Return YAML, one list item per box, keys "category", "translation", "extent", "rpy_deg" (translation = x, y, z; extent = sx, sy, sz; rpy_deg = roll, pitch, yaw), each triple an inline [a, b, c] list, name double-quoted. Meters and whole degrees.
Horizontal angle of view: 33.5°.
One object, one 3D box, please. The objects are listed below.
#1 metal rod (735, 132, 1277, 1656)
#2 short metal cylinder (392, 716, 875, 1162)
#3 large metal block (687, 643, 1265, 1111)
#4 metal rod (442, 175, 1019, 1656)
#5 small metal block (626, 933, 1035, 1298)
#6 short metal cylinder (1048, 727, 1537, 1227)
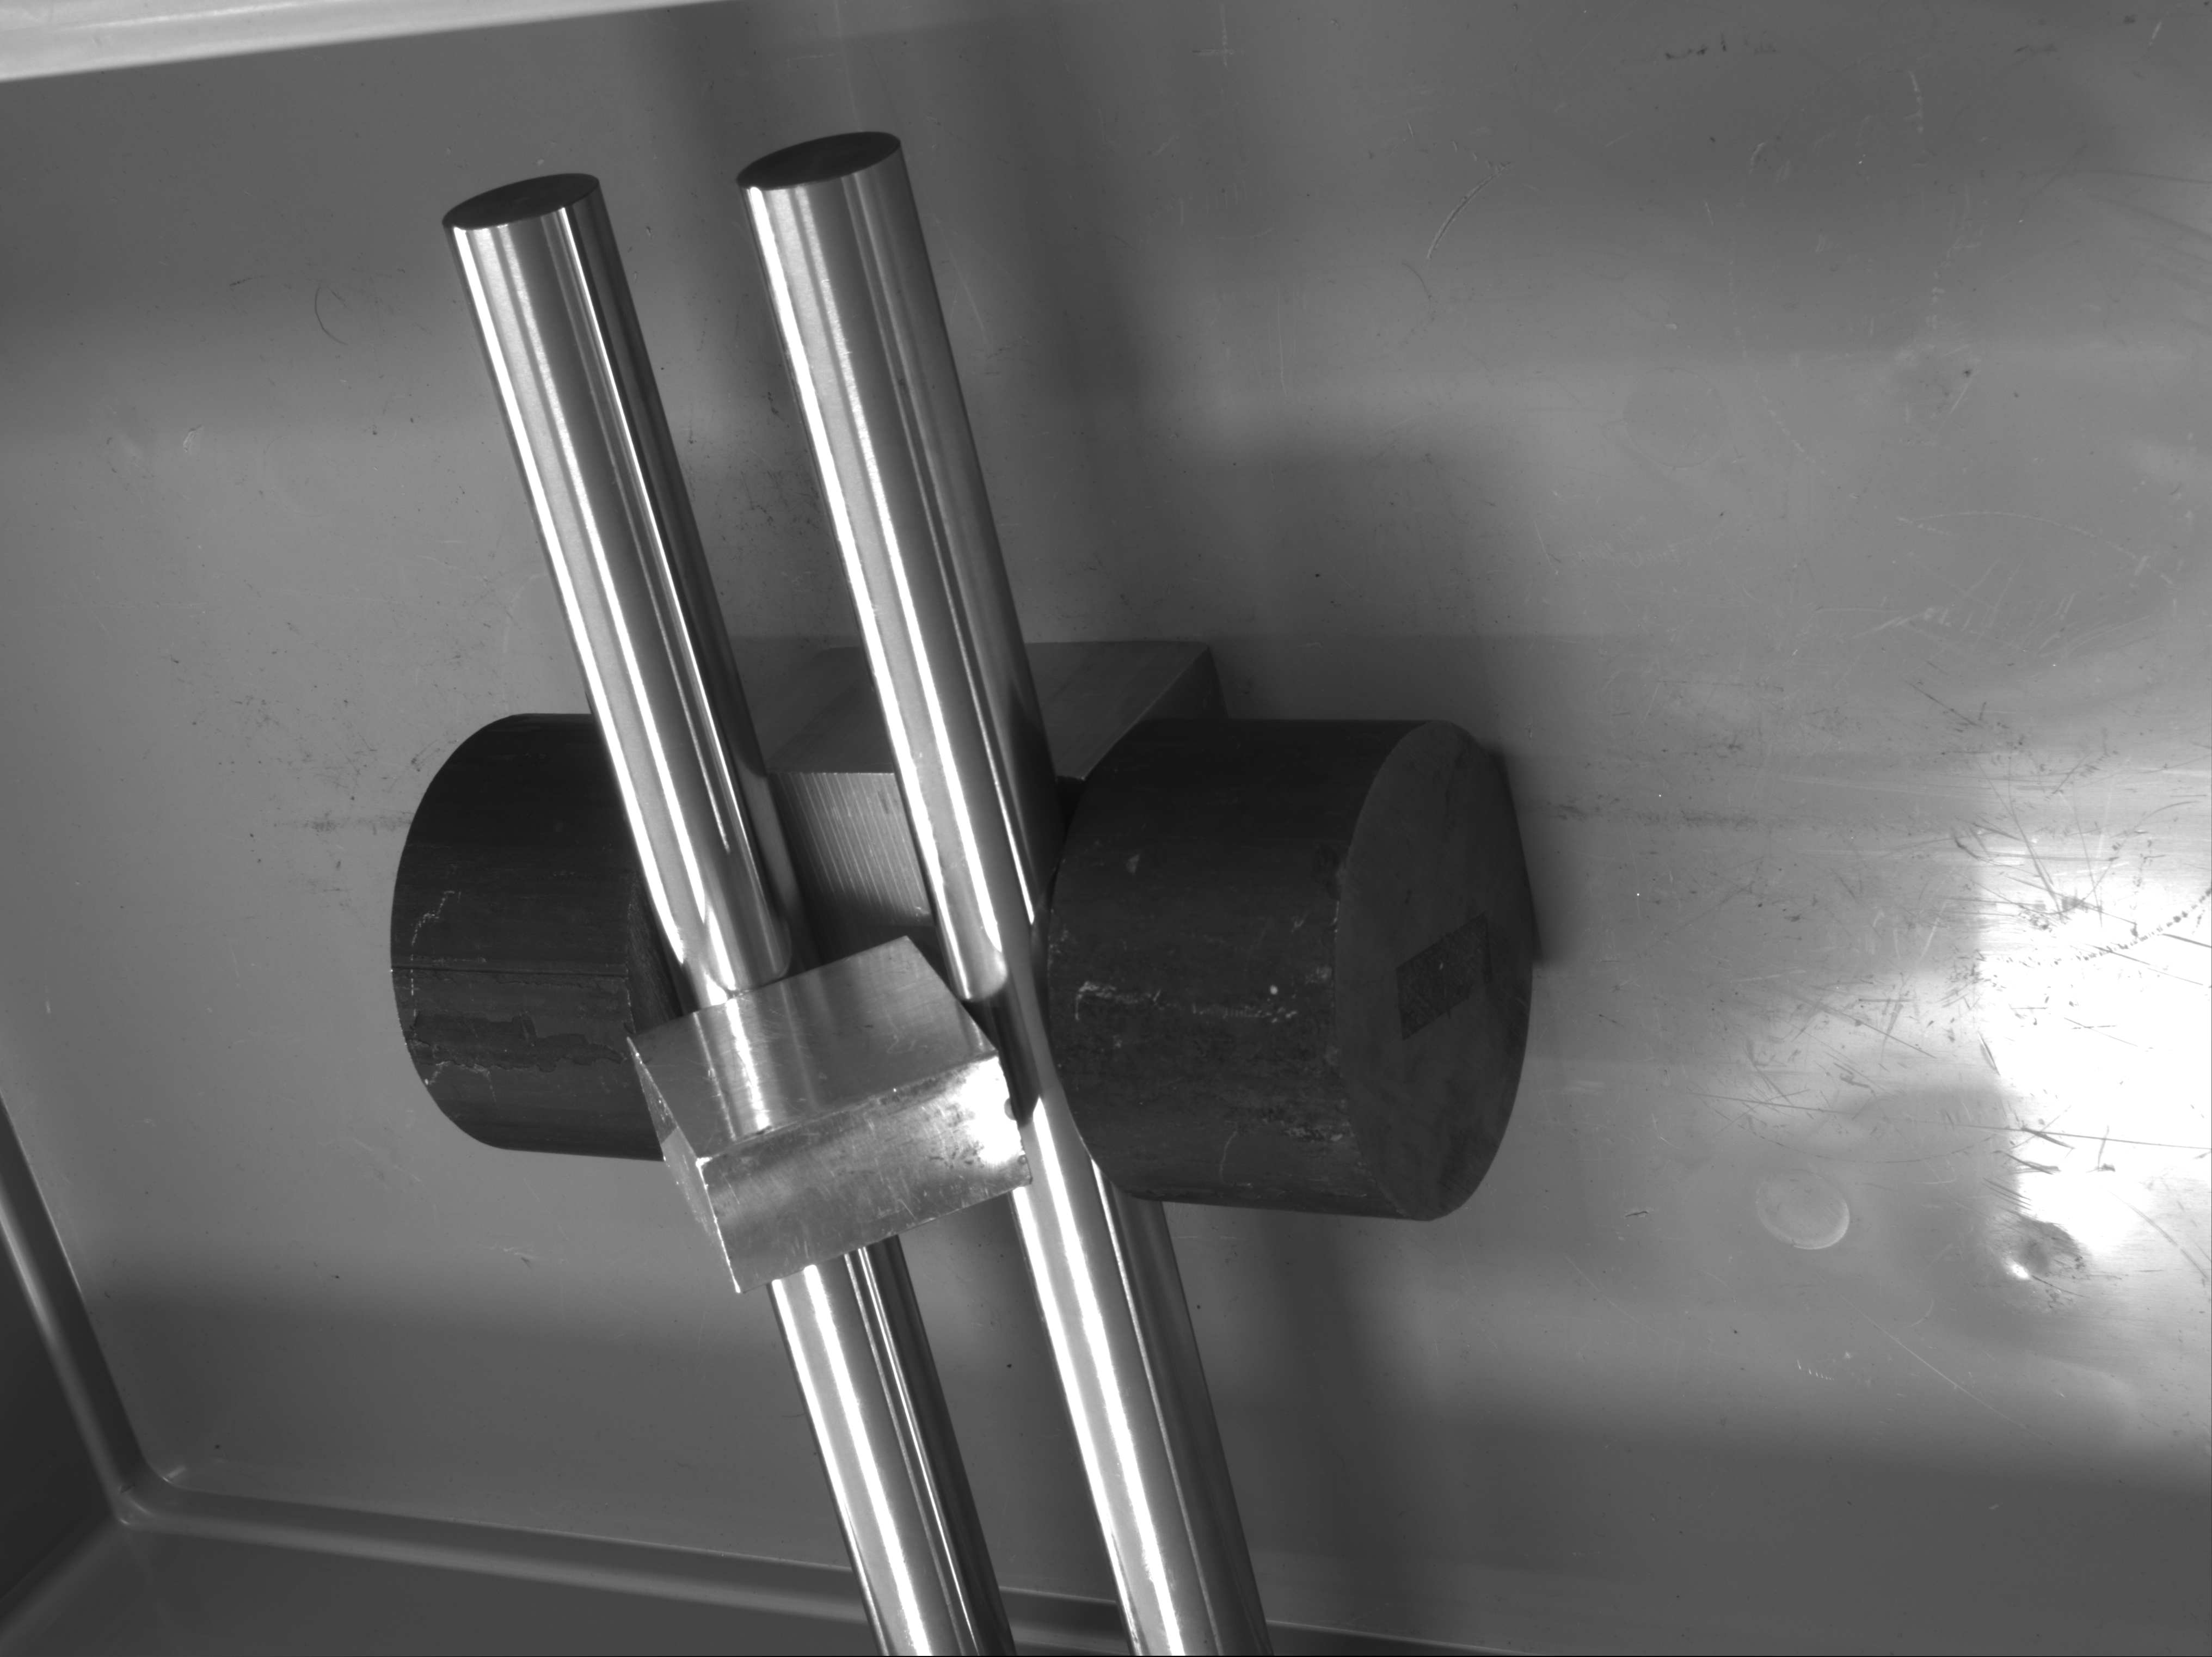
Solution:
- category: "metal rod"
  translation: [-0.010, 0.034, 0.603]
  extent: [0.025, 0.025, 0.300]
  rpy_deg: [1, 119, 28]
- category: "short metal cylinder"
  translation: [-0.083, 0.020, 0.663]
  extent: [0.050, 0.080, 0.080]
  rpy_deg: [1, 119, 28]
- category: "large metal block"
  translation: [-0.020, 0.015, 0.645]
  extent: [0.080, 0.050, 0.080]
  rpy_deg: [1, 119, 28]
- category: "metal rod"
  translation: [-0.058, 0.036, 0.630]
  extent: [0.025, 0.025, 0.300]
  rpy_deg: [1, 119, 28]
- category: "small metal block"
  translation: [-0.045, 0.046, 0.596]
  extent: [0.050, 0.050, 0.025]
  rpy_deg: [-135, 28, -61]
- category: "short metal cylinder"
  translation: [0.032, 0.023, 0.602]
  extent: [0.050, 0.080, 0.080]
  rpy_deg: [1, 119, 29]
